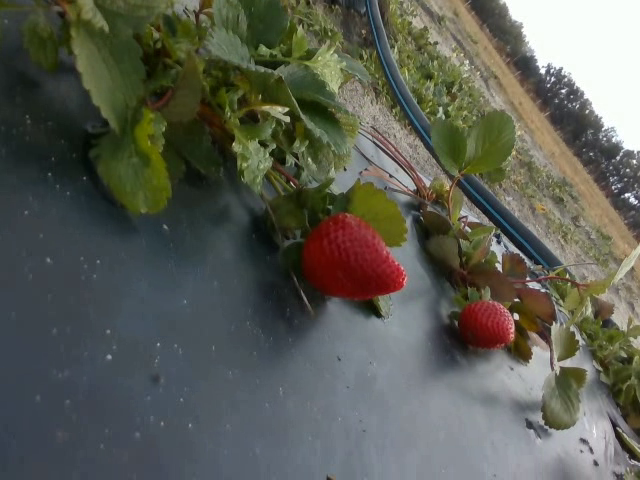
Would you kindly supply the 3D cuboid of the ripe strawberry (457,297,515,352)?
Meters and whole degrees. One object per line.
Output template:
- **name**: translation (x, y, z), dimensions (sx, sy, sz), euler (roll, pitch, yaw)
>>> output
- **ripe strawberry**: translation (0.110, 0.058, 0.372), dimensions (0.041, 0.045, 0.052), euler (-12, 11, -8)

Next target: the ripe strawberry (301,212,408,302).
- **ripe strawberry**: translation (0.018, 0.011, 0.254), dimensions (0.046, 0.051, 0.050), euler (-42, 32, -27)
